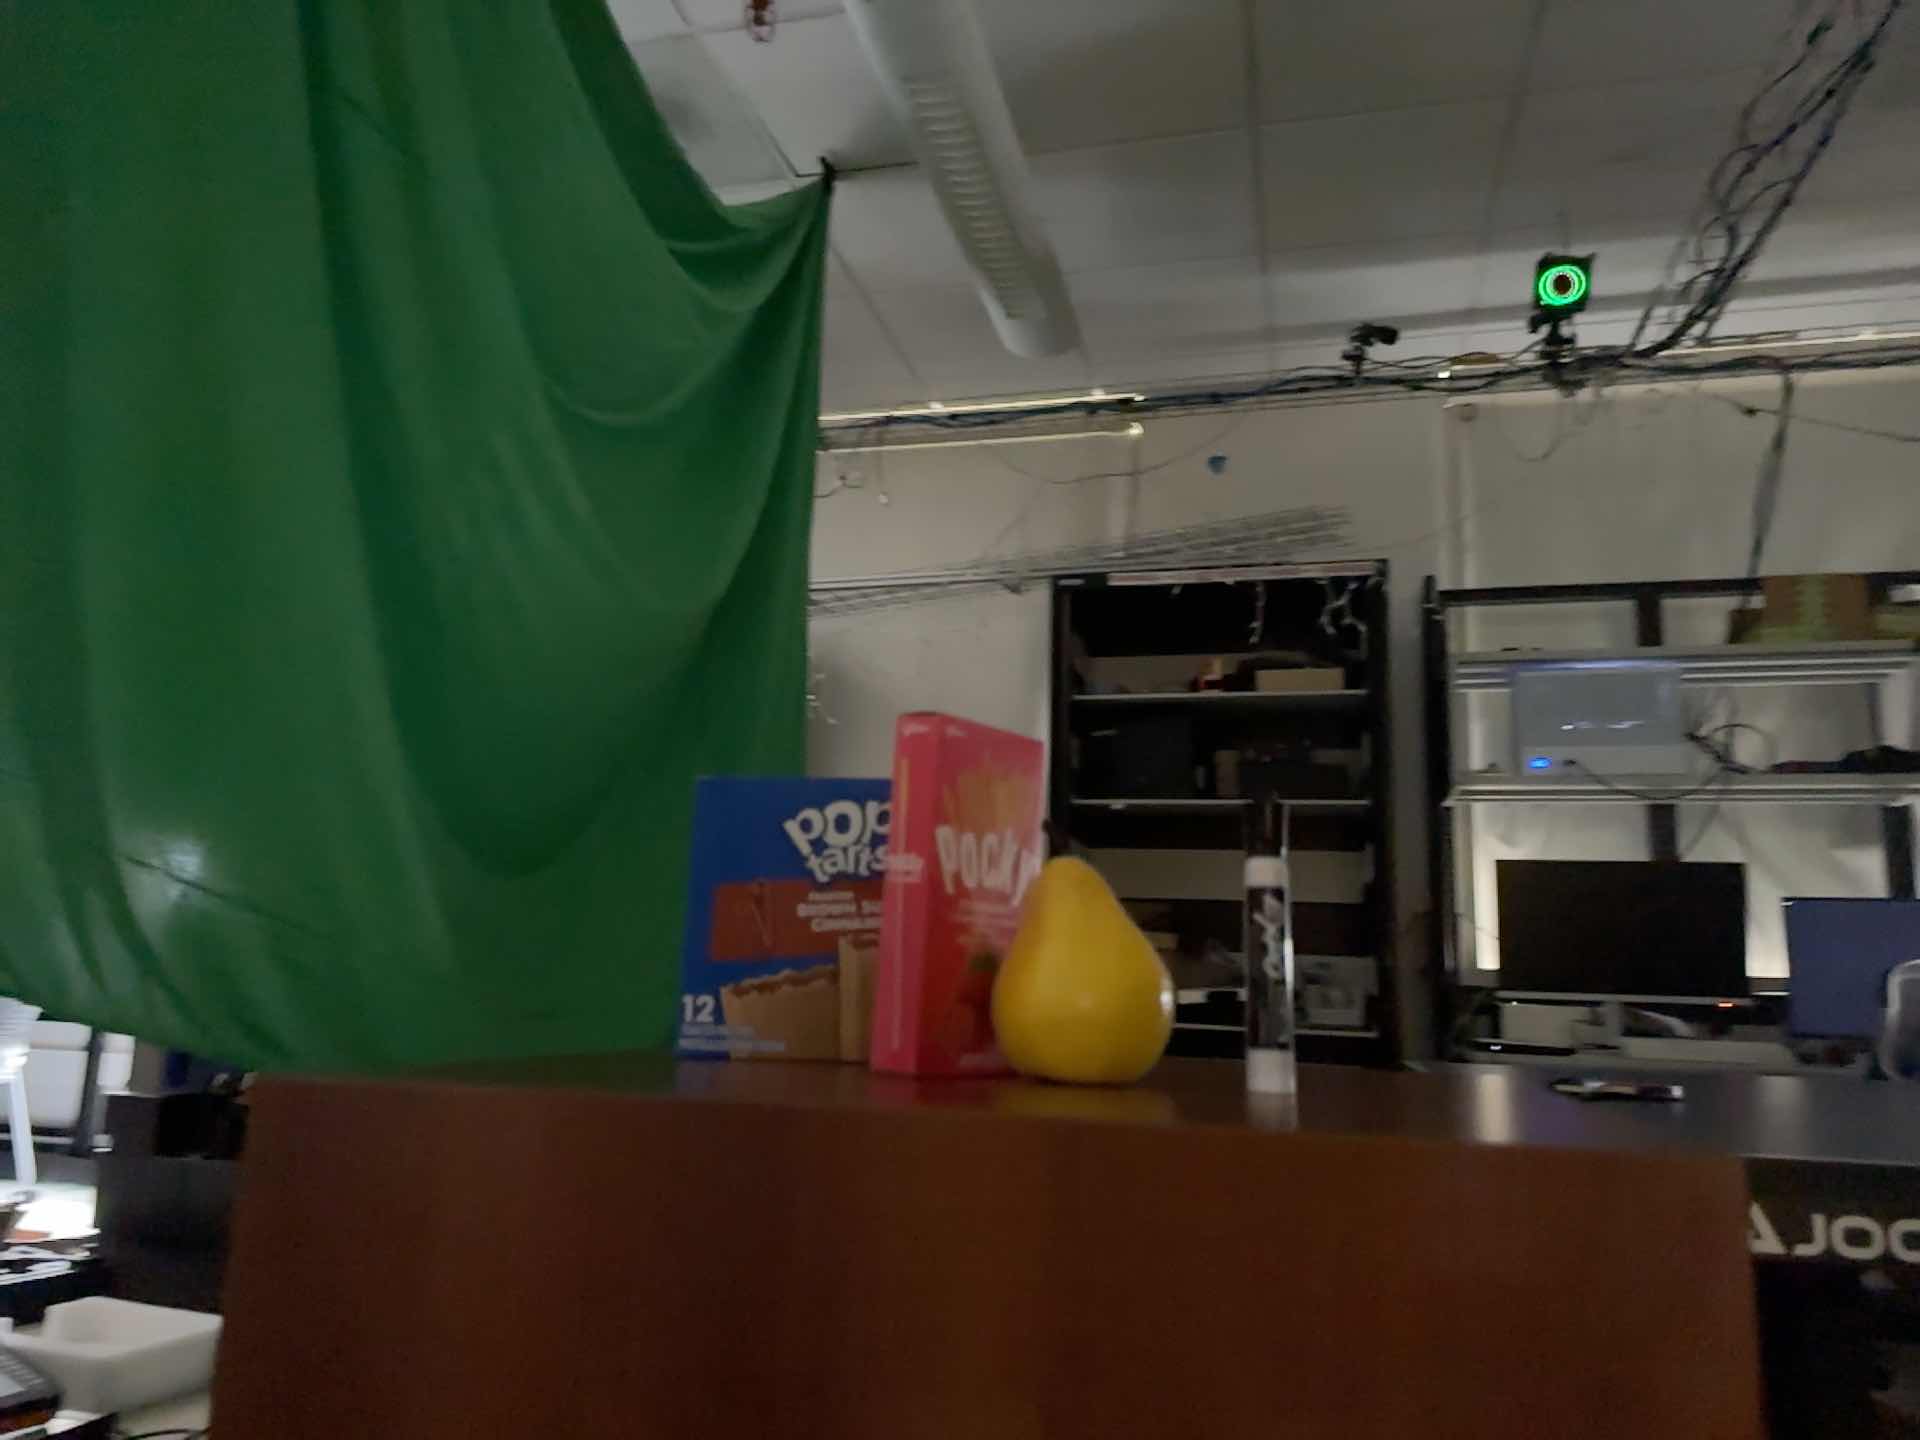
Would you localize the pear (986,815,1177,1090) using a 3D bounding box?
[{"bbox_3d":[0.050,0.094,0.555,0.080,0.111,0.080,2,-11,0],"label":"pear"}]

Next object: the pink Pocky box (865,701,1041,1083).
[{"bbox_3d":[-0.001,0.073,0.578,0.029,0.155,0.084,-4,-10,37],"label":"pink Pocky box"}]

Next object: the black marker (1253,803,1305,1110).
[{"bbox_3d":[0.129,0.094,0.543,0.020,0.121,0.020,2,-9,0],"label":"black marker"}]

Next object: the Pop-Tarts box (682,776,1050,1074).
[{"bbox_3d":[-0.044,0.103,0.682,0.161,0.135,0.075,0,-11,11],"label":"Pop-Tarts box"}]
